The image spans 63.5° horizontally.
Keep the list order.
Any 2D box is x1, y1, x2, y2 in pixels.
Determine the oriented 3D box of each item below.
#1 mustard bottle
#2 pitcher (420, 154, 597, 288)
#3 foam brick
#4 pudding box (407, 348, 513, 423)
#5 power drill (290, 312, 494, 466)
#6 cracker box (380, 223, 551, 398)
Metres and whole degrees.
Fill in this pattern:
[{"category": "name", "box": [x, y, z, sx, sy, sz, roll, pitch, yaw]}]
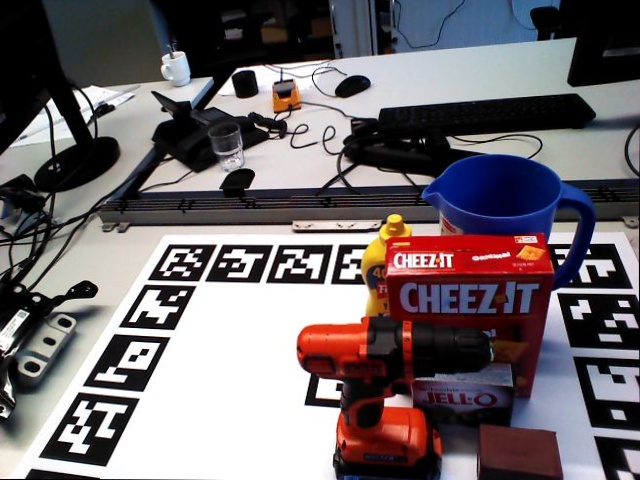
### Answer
[{"category": "mustard bottle", "box": [0.101, 0.029, 0.685, 0.097, 0.192, 0.058, 9, 45, 25]}, {"category": "pitcher", "box": [0.228, 0.019, 0.643, 0.190, 0.243, 0.132, 3, 41, 21]}, {"category": "foam brick", "box": [0.205, 0.228, 0.543, 0.078, 0.051, 0.052, 1, 43, 17]}, {"category": "pudding box", "box": [0.156, 0.162, 0.585, 0.114, 0.090, 0.038, -2, 39, 18]}, {"category": "power drill", "box": [0.073, 0.149, 0.513, 0.185, 0.187, 0.057, -1, 37, 14]}, {"category": "cracker box", "box": [0.164, 0.089, 0.585, 0.165, 0.214, 0.071, -3, 38, 15]}]
